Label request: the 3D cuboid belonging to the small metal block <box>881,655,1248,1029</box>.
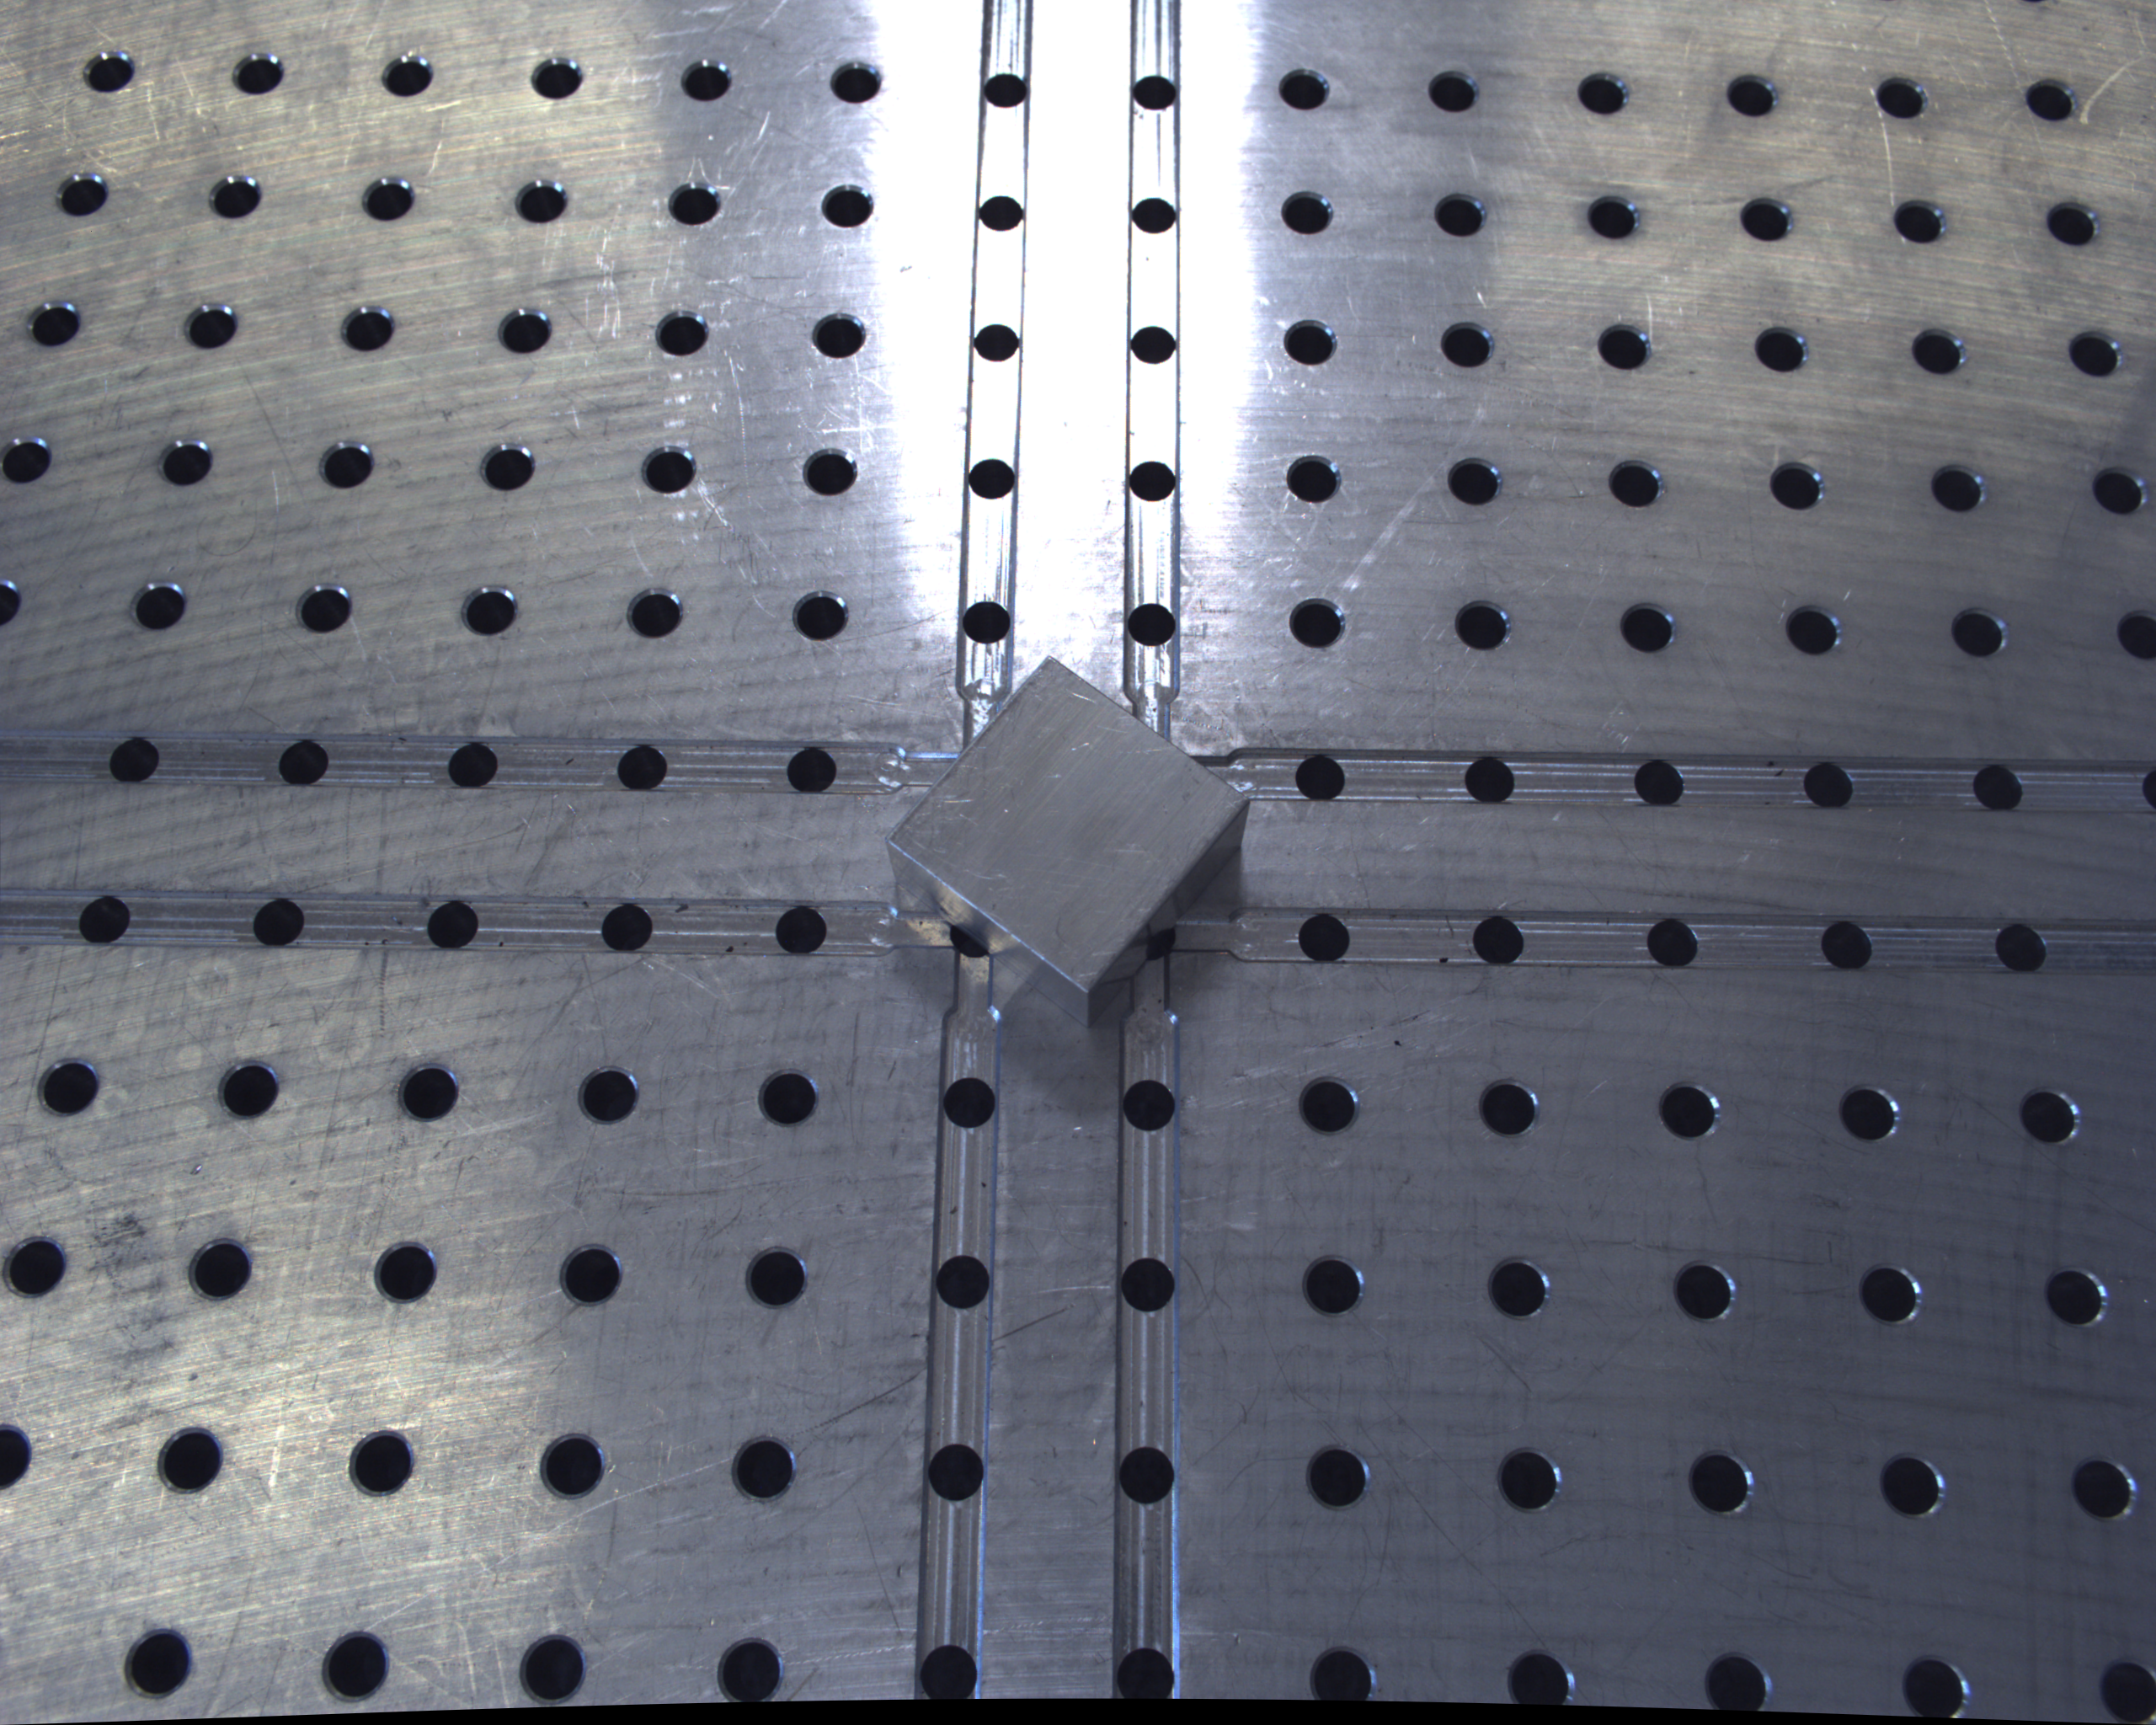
[{"bbox_3d":[-0.002,-0.004,0.413,0.050,0.025,0.050,37,74,12],"label":"small metal block"}]
